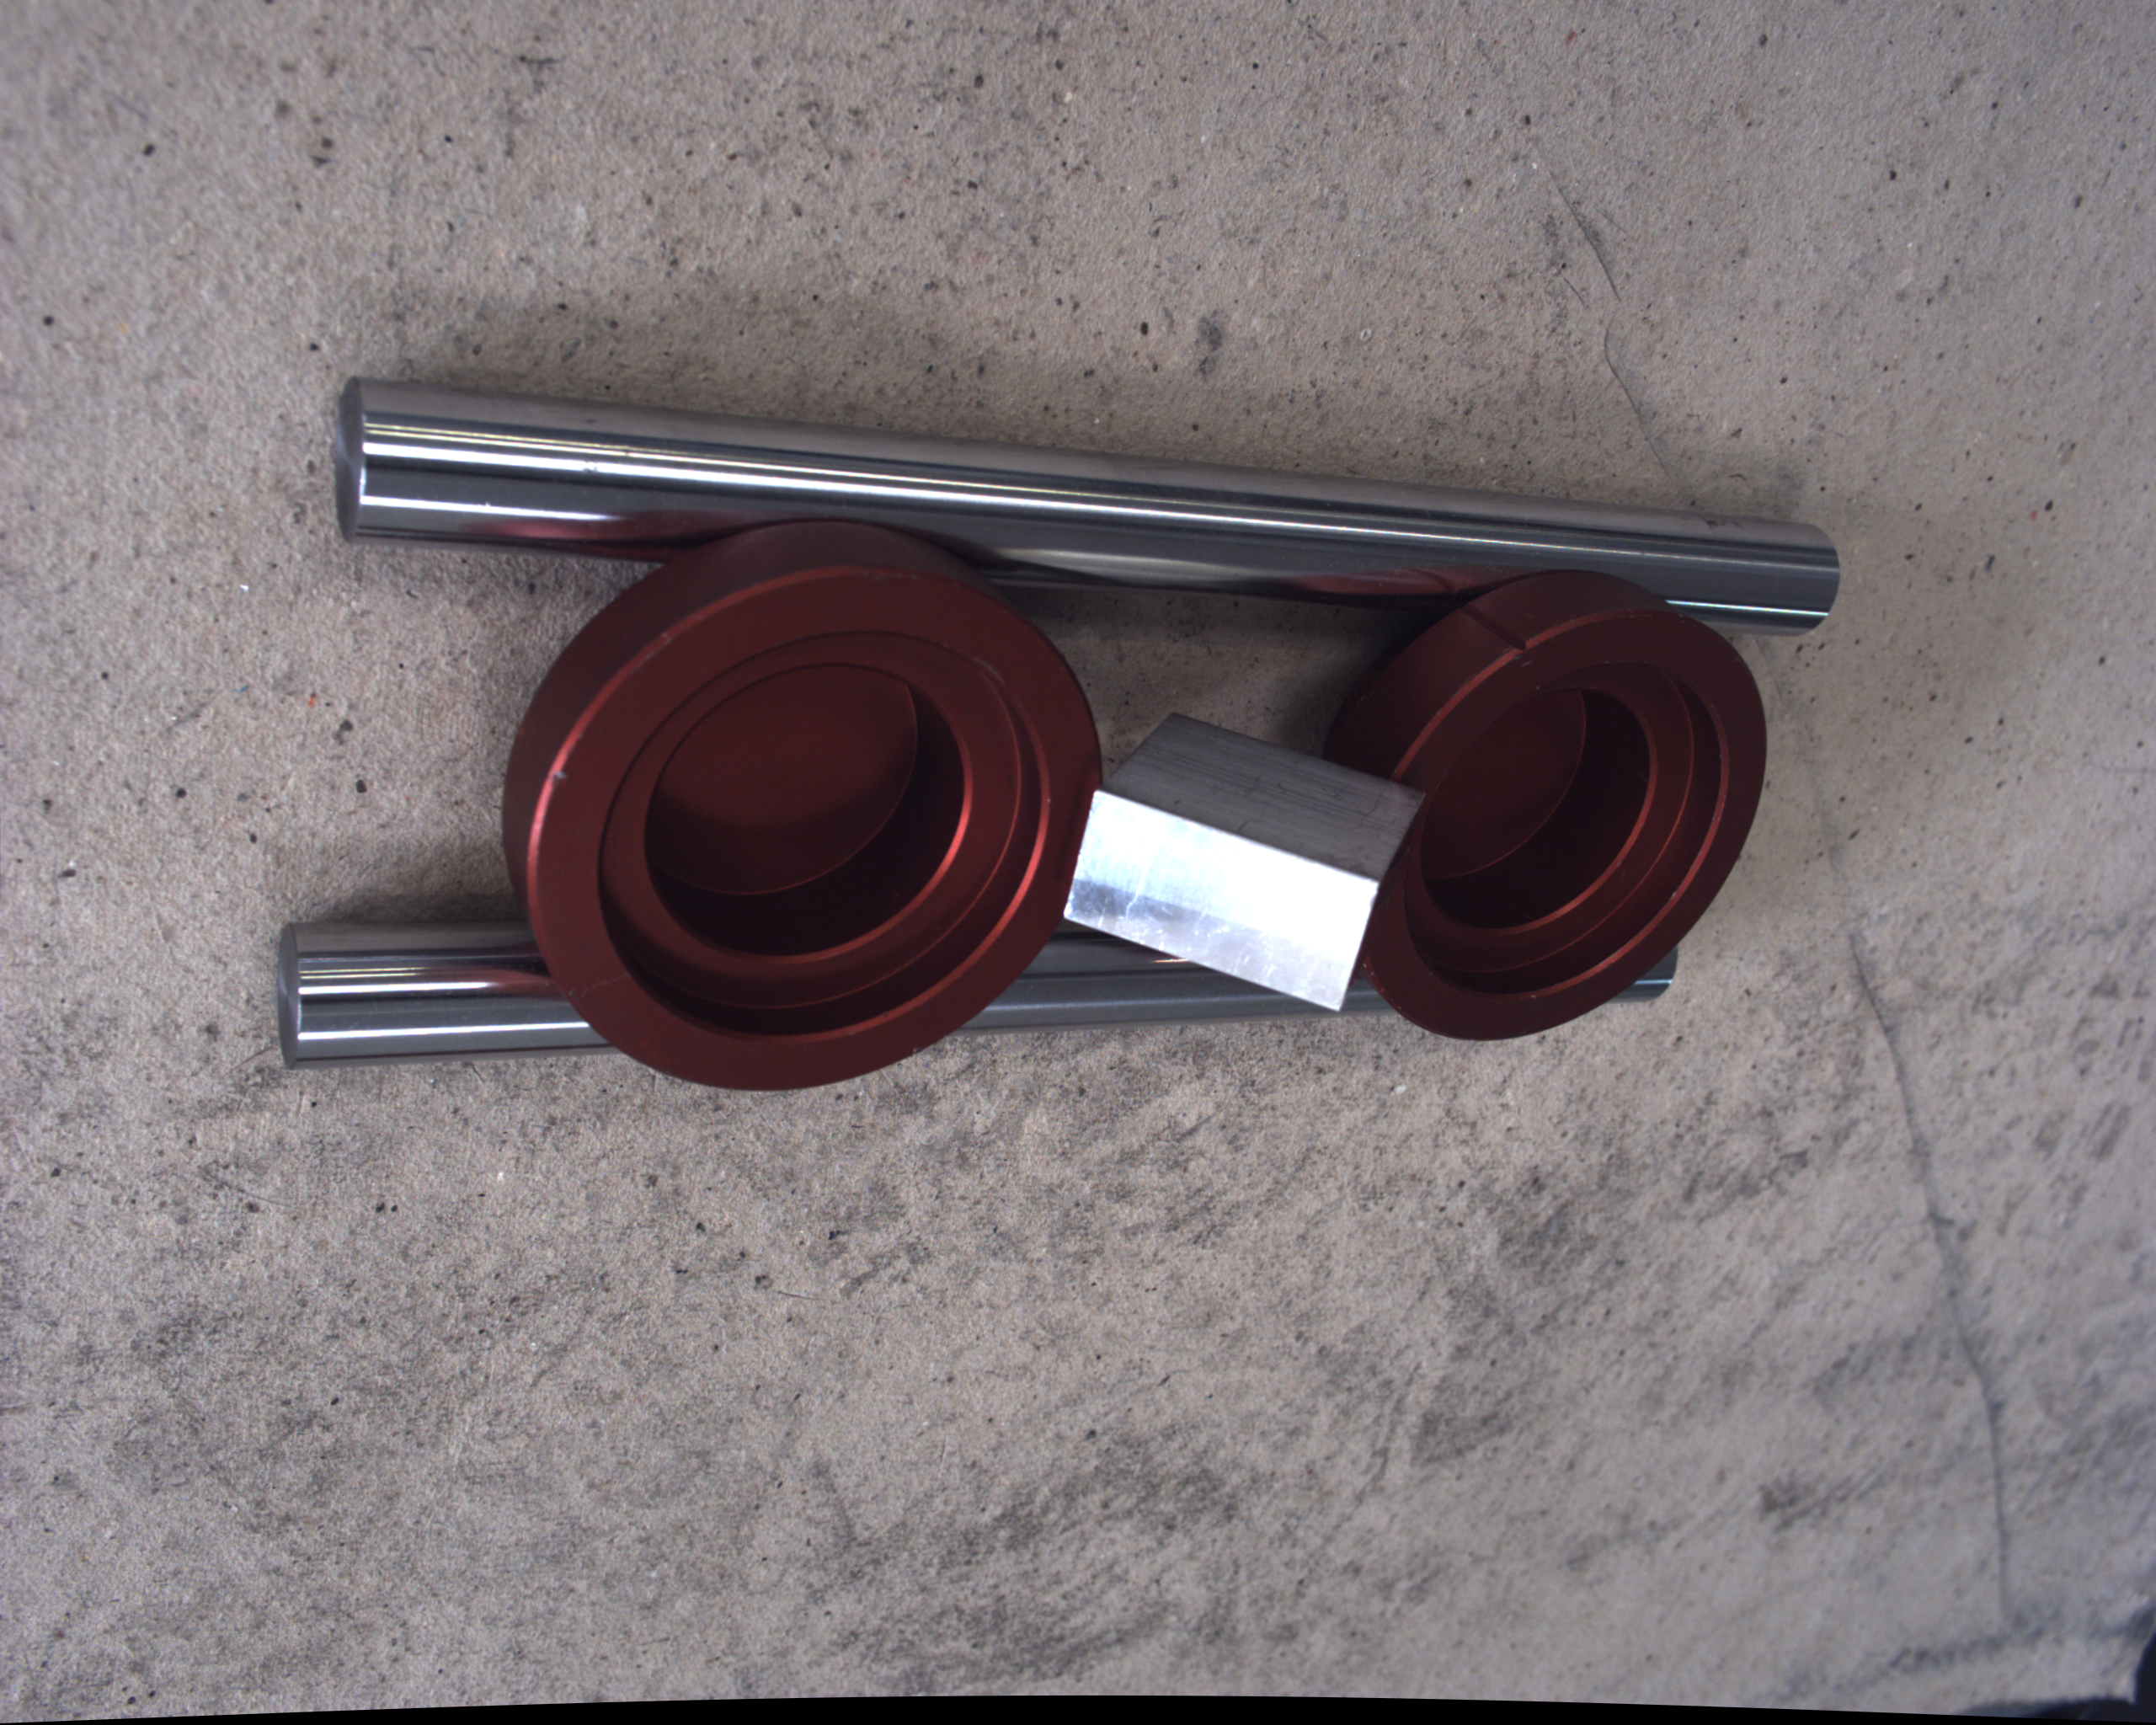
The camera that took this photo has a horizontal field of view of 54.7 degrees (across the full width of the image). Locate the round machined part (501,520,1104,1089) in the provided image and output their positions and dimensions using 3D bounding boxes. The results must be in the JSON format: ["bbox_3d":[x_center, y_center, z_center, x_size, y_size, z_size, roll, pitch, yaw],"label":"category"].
[{"bbox_3d":[-0.049,-0.013,0.357,0.099,0.042,0.097,-14,124,-21],"label":"round machined part"}]

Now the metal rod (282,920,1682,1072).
[{"bbox_3d":[0.001,0.022,0.422,0.303,0.025,0.025,0,119,-29],"label":"metal rod"}]

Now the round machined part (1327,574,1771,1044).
[{"bbox_3d":[0.090,-0.014,0.431,0.099,0.042,0.097,-14,124,-21],"label":"round machined part"}]

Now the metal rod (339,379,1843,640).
[{"bbox_3d":[0.024,-0.060,0.384,0.303,0.025,0.025,0,119,-29],"label":"metal rod"}]

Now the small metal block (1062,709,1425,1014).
[{"bbox_3d":[0.031,-0.002,0.374,0.050,0.050,0.025,19,115,11],"label":"small metal block"}]
